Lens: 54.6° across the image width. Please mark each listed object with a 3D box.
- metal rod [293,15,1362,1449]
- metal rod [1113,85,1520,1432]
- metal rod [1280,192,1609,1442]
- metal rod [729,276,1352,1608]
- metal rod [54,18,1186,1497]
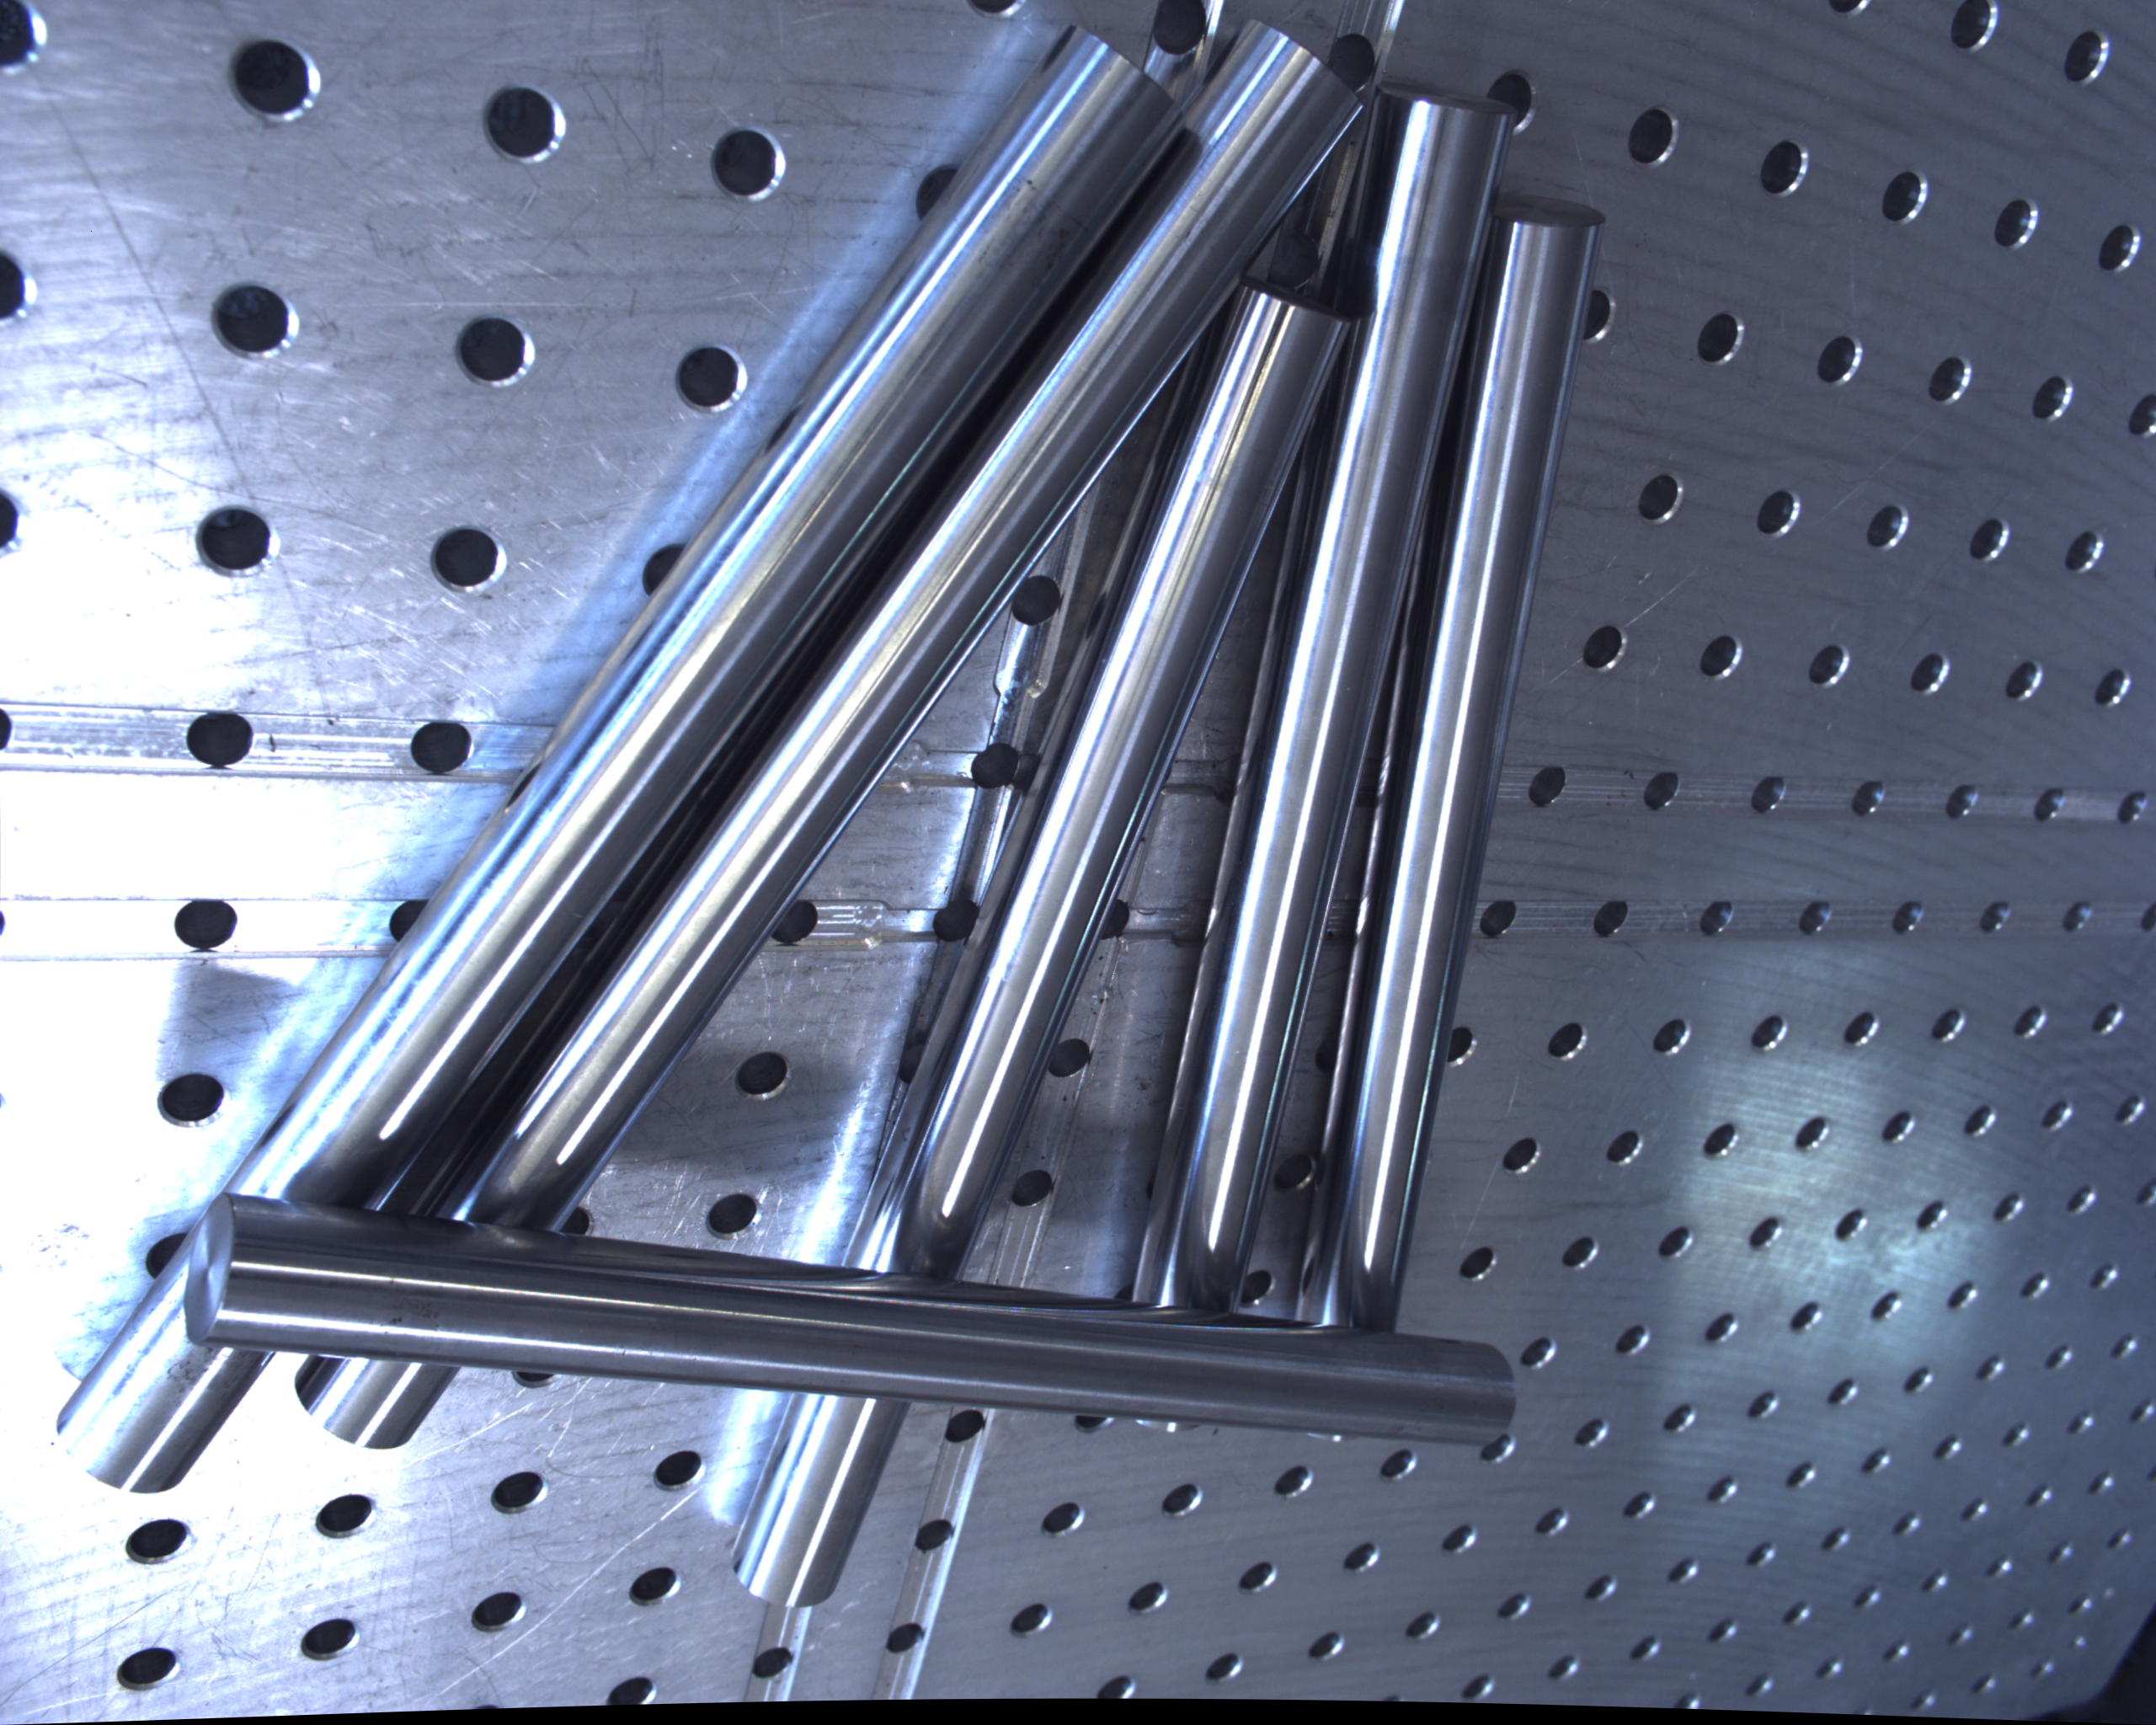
[{"bbox_3d":[-0.051,-0.015,0.374,0.025,0.025,0.299,29,102,-38],"label":"metal rod"},{"bbox_3d":[0.043,-0.003,0.432,0.025,0.025,0.298,-5,121,-26],"label":"metal rod"},{"bbox_3d":[0.074,0.009,0.456,0.025,0.025,0.298,-10,123,-23],"label":"metal rod"},{"bbox_3d":[-0.015,0.030,0.421,0.025,0.025,0.298,8,114,-32],"label":"metal rod"},{"bbox_3d":[-0.083,-0.010,0.358,0.025,0.025,0.299,31,101,-38],"label":"metal rod"}]
